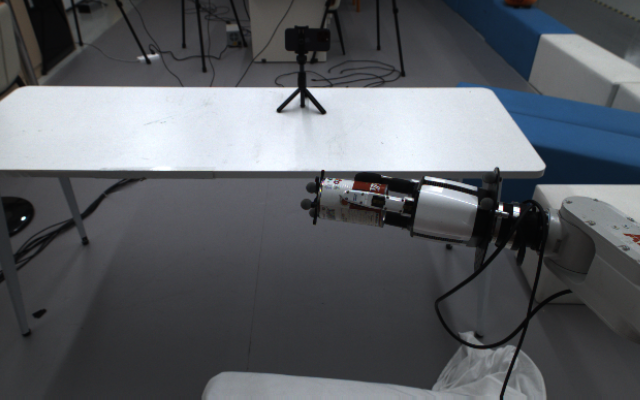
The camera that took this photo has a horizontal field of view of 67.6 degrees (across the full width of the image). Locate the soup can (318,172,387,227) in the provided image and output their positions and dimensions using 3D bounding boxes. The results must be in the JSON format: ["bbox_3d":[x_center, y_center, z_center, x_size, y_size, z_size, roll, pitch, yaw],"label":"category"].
[{"bbox_3d":[0.054,0.003,0.755,0.101,0.067,0.067,7,35,10],"label":"soup can"}]
